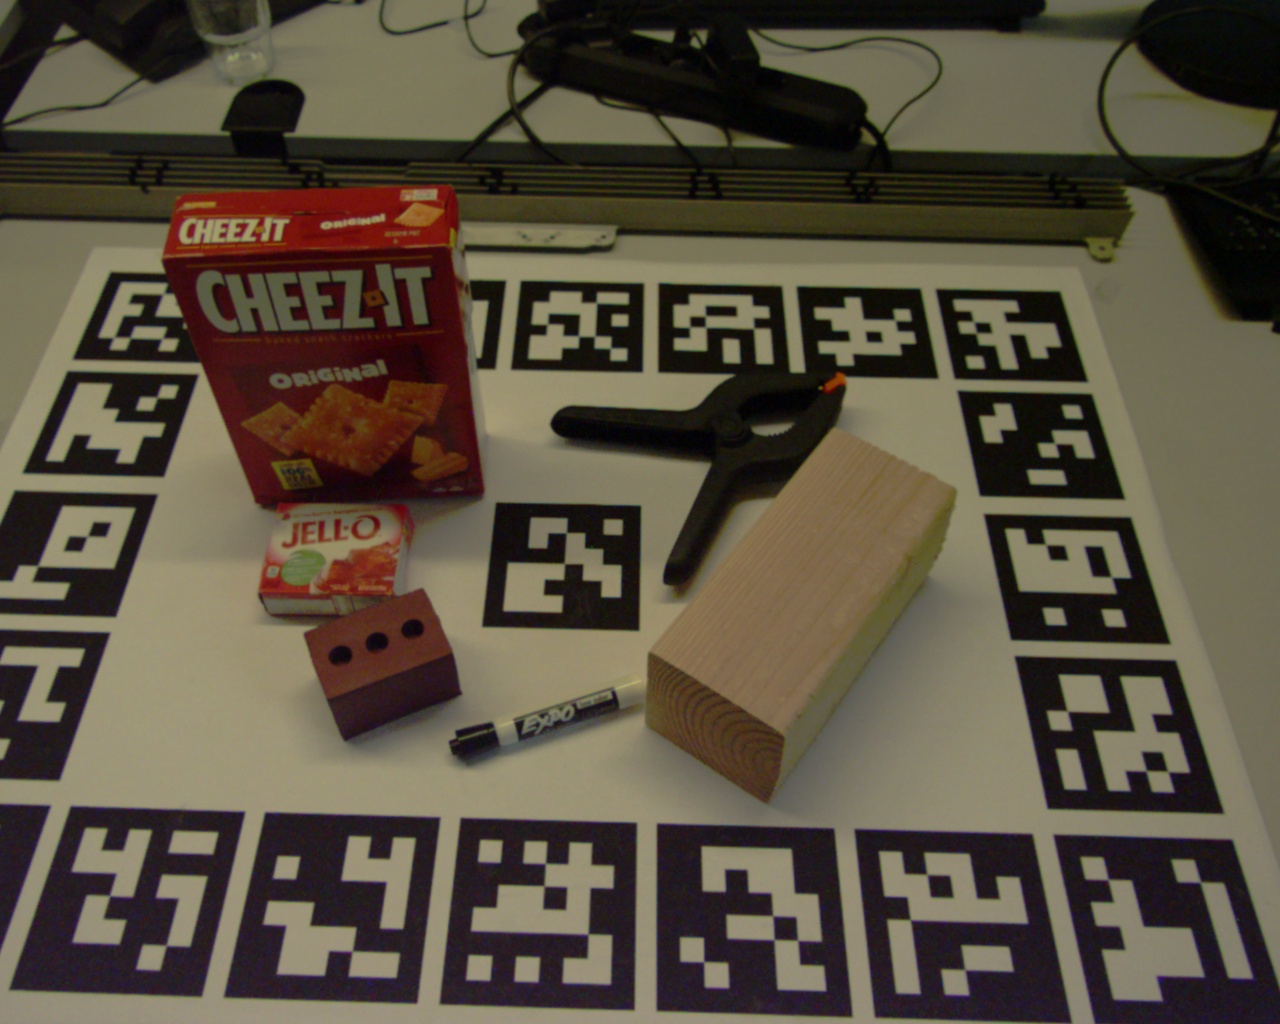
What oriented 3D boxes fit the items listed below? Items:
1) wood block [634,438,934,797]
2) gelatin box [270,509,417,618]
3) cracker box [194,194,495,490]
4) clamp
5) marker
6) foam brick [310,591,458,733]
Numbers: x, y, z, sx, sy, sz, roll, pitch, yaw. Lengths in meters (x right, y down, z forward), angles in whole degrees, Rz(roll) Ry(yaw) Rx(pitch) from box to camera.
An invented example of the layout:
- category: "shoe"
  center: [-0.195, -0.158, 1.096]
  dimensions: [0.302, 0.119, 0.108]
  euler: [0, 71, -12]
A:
- category: "wood block"
  center: [0.091, 0.061, 0.723]
  dimensions: [0.091, 0.090, 0.205]
  euler: [29, 57, 22]
- category: "gelatin box"
  center: [-0.201, 0.035, 0.779]
  dimensions: [0.089, 0.030, 0.073]
  euler: [0, 56, 0]
- category: "cracker box"
  center: [-0.184, -0.104, 0.758]
  dimensions: [0.164, 0.213, 0.072]
  euler: [-1, 53, -3]
- category: "clamp"
  center: [0.054, -0.049, 0.830]
  dimensions: [0.201, 0.036, 0.167]
  euler: [-25, 59, -16]
- category: "marker"
  center: [-0.072, 0.129, 0.712]
  dimensions: [0.120, 0.019, 0.020]
  euler: [-16, 58, -10]
- category: "foam brick"
  center: [-0.161, 0.094, 0.720]
  dimensions: [0.077, 0.051, 0.053]
  euler: [-20, 59, -13]
